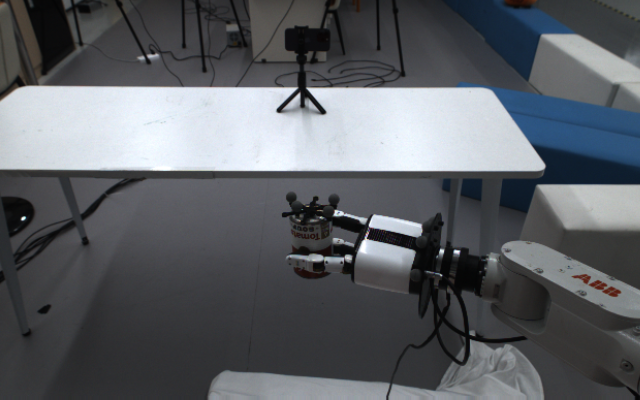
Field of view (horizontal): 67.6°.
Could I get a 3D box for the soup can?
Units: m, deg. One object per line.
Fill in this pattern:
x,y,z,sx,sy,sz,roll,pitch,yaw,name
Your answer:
-0.011,0.064,0.769,0.067,0.101,0.067,-3,27,2,soup can
